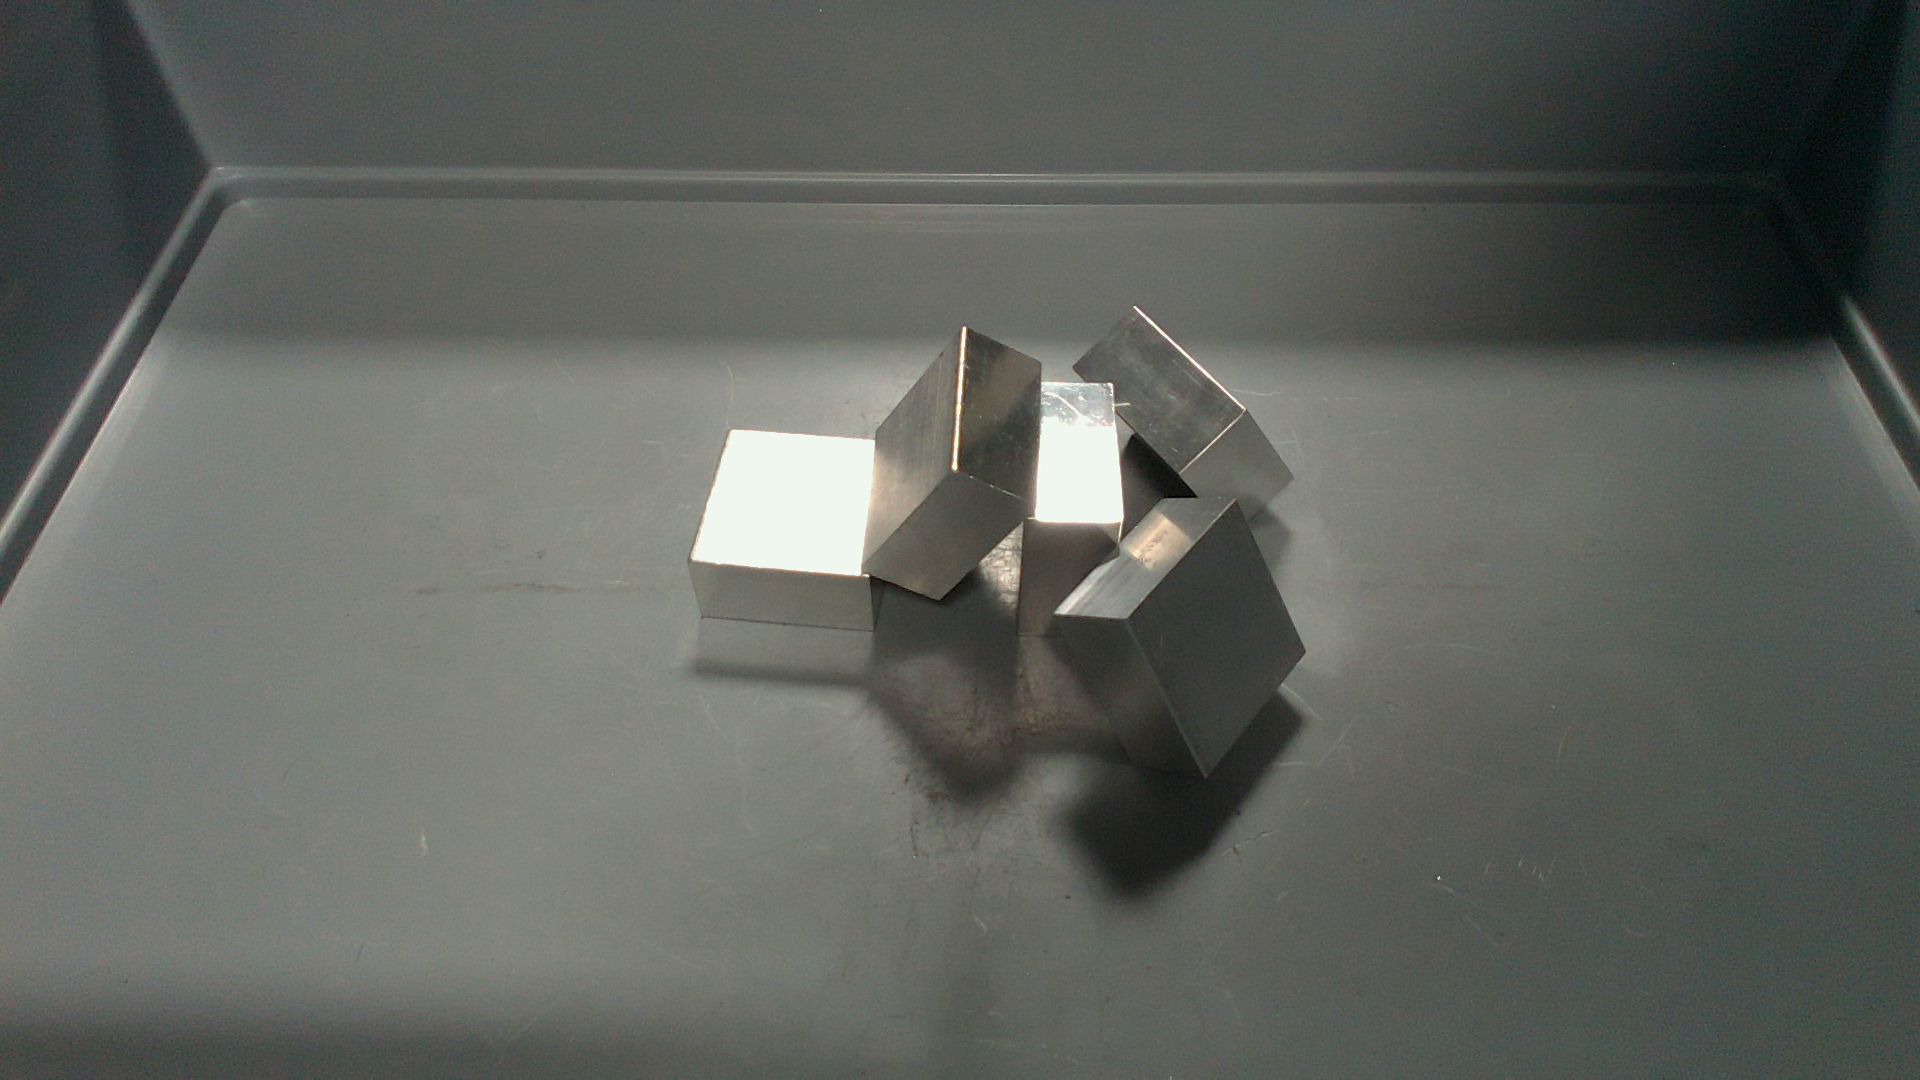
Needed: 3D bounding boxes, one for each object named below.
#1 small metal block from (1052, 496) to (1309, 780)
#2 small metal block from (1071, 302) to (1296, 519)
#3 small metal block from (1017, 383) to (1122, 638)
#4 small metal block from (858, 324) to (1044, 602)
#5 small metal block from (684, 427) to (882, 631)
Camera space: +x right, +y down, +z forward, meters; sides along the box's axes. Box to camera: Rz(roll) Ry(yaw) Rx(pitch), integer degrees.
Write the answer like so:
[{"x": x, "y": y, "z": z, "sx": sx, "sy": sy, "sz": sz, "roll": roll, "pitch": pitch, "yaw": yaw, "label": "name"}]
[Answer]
[{"x": 0.057, "y": 0.024, "z": 0.350, "sx": 0.025, "sy": 0.050, "sz": 0.050, "roll": 1, "pitch": 37, "yaw": 50, "label": "small metal block"}, {"x": 0.065, "y": -0.035, "z": 0.399, "sx": 0.025, "sy": 0.050, "sz": 0.050, "roll": -44, "pitch": 57, "yaw": 7, "label": "small metal block"}, {"x": 0.029, "y": -0.008, "z": 0.381, "sx": 0.025, "sy": 0.050, "sz": 0.050, "roll": 1, "pitch": 50, "yaw": 1, "label": "small metal block"}, {"x": -0.002, "y": -0.020, "z": 0.367, "sx": 0.025, "sy": 0.050, "sz": 0.050, "roll": 22, "pitch": 49, "yaw": -23, "label": "small metal block"}, {"x": -0.046, "y": -0.004, "z": 0.392, "sx": 0.050, "sy": 0.025, "sz": 0.050, "roll": 5, "pitch": 50, "yaw": 4, "label": "small metal block"}]
